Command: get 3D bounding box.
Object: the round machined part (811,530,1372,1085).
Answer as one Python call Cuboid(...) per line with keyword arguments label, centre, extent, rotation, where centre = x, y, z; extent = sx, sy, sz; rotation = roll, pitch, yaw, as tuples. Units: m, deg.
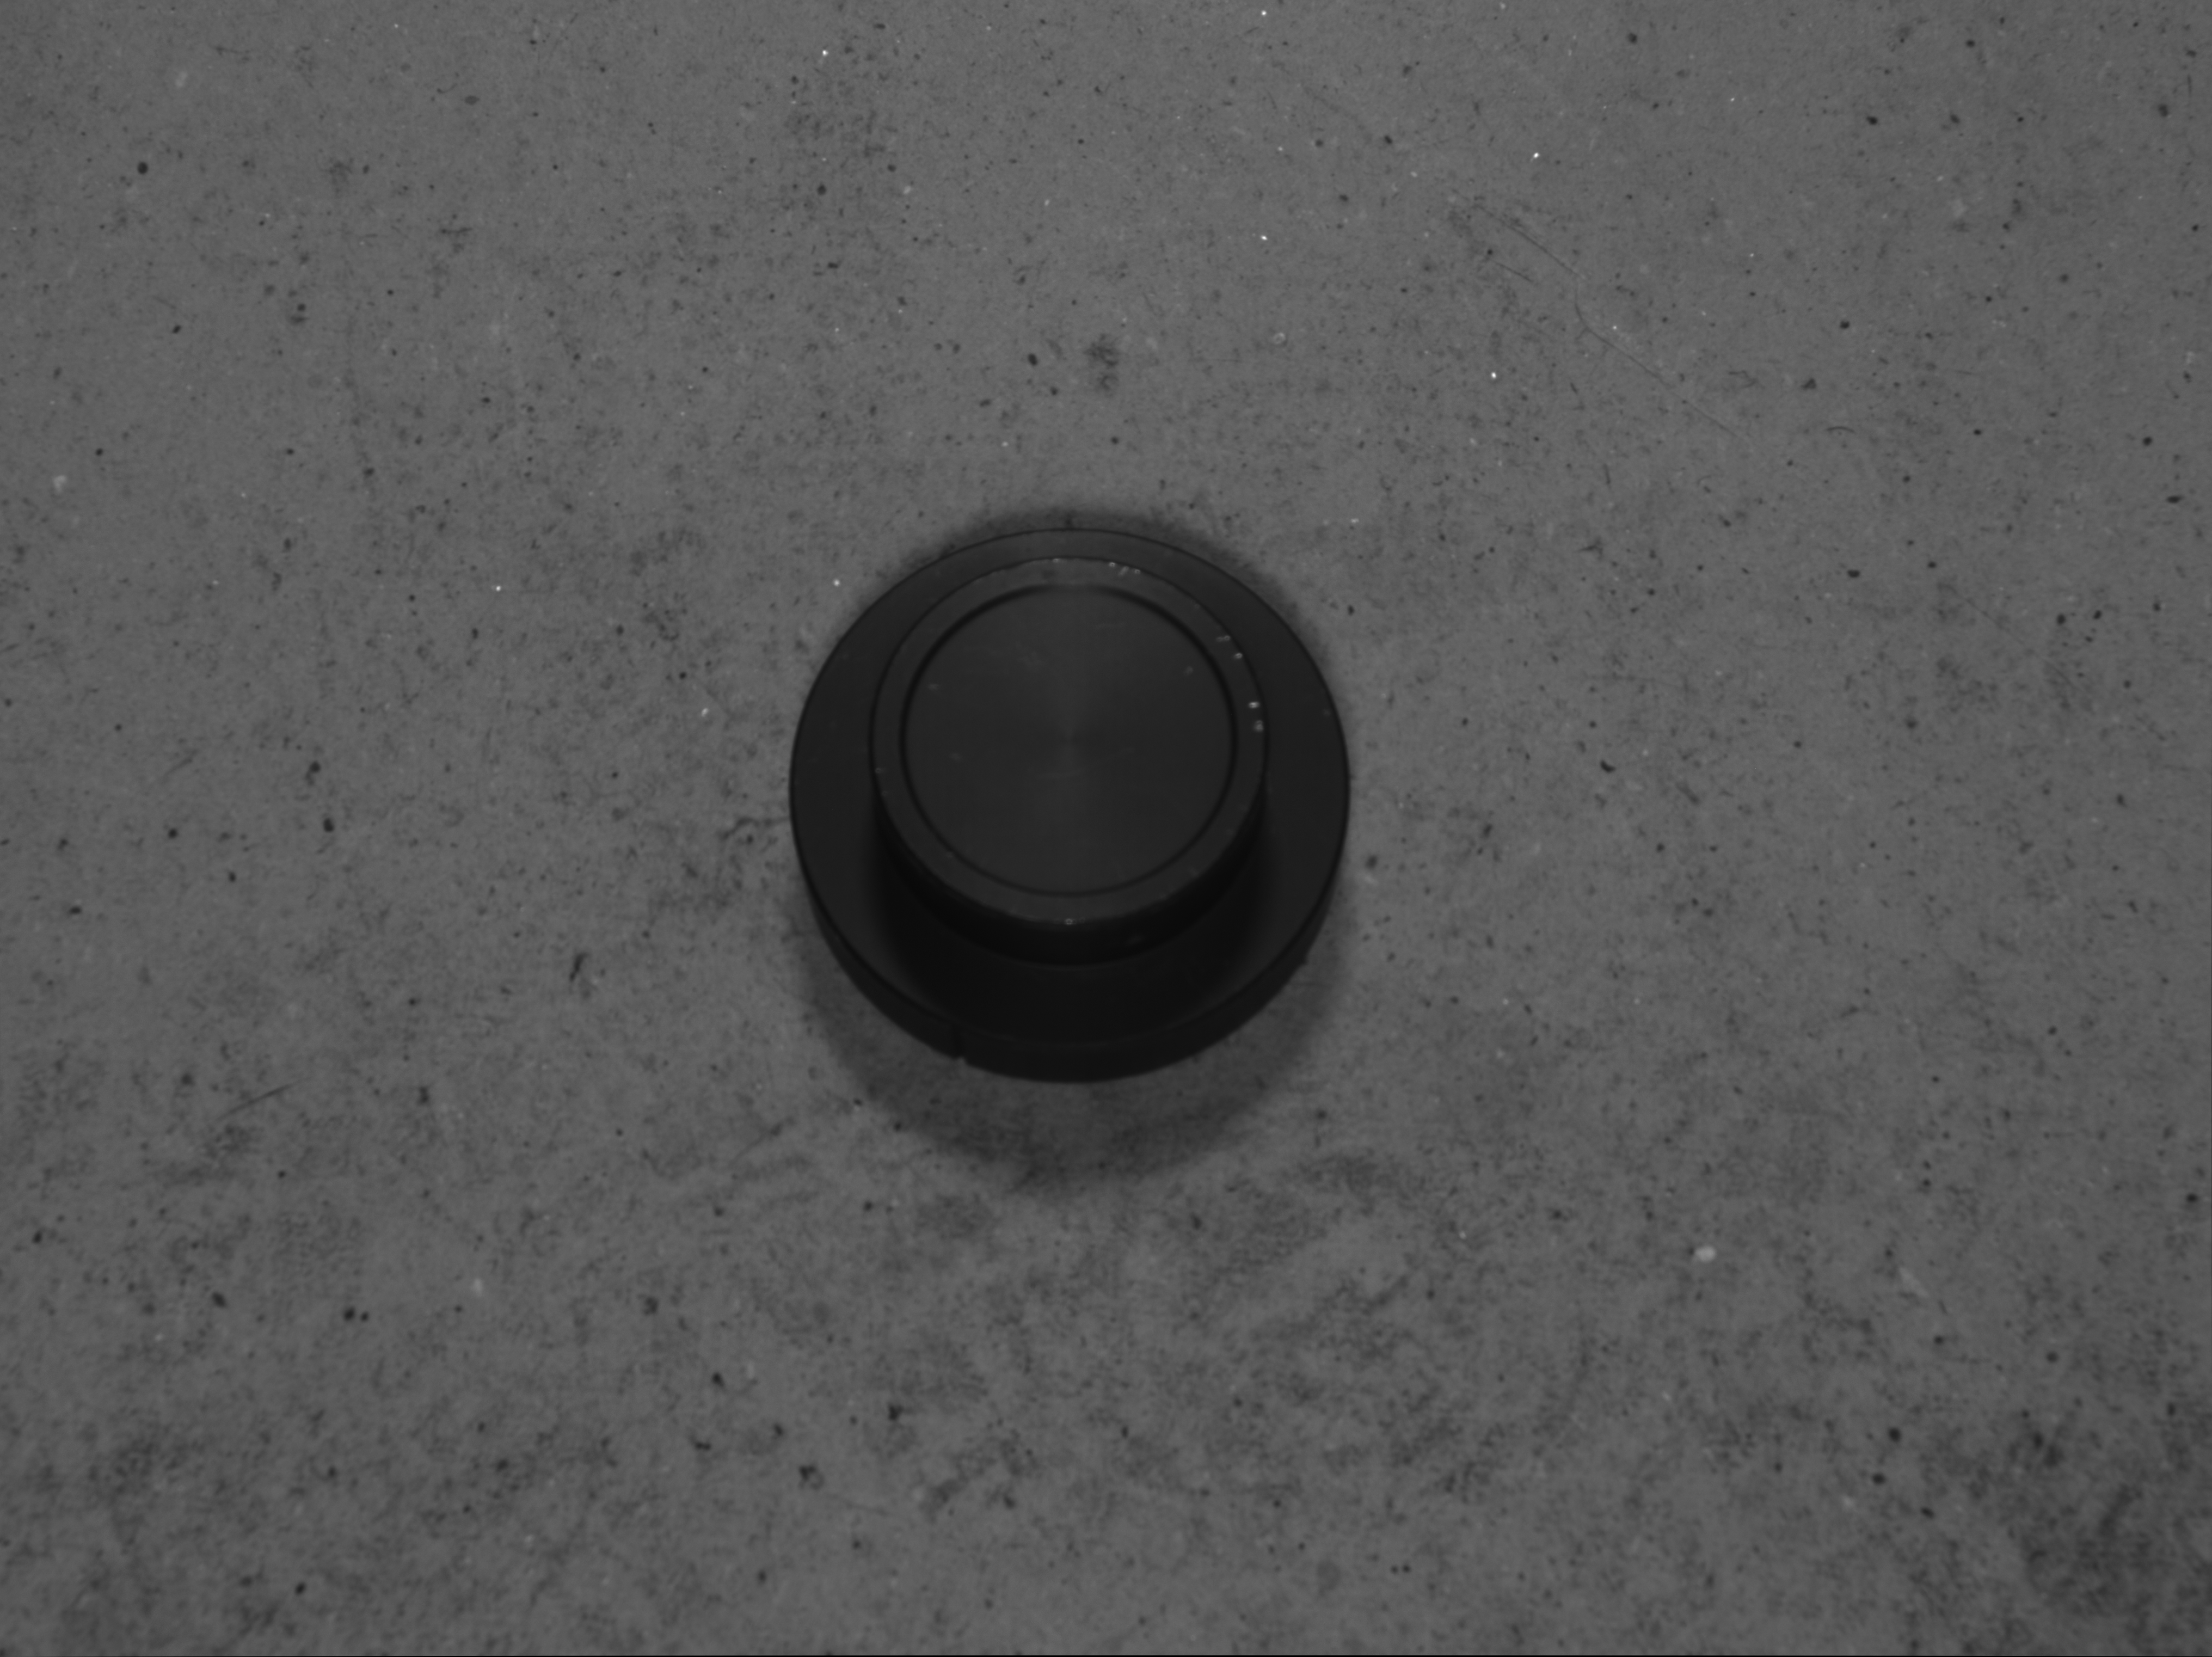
Cuboid(label="round machined part", centre=(-0.003, -0.008, 0.638), extent=(0.098, 0.042, 0.098), rotation=(0, 70, 0))
